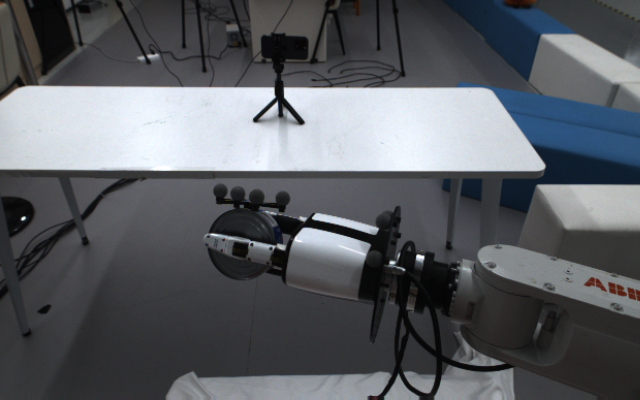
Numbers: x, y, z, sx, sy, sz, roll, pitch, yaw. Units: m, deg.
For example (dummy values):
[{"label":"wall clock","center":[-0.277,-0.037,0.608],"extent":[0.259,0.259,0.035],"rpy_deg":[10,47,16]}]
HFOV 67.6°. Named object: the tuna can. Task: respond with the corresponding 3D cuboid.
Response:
[{"label":"tuna can","center":[-0.087,0.050,0.580],"extent":[0.085,0.085,0.034],"rpy_deg":[11,2,13]}]
